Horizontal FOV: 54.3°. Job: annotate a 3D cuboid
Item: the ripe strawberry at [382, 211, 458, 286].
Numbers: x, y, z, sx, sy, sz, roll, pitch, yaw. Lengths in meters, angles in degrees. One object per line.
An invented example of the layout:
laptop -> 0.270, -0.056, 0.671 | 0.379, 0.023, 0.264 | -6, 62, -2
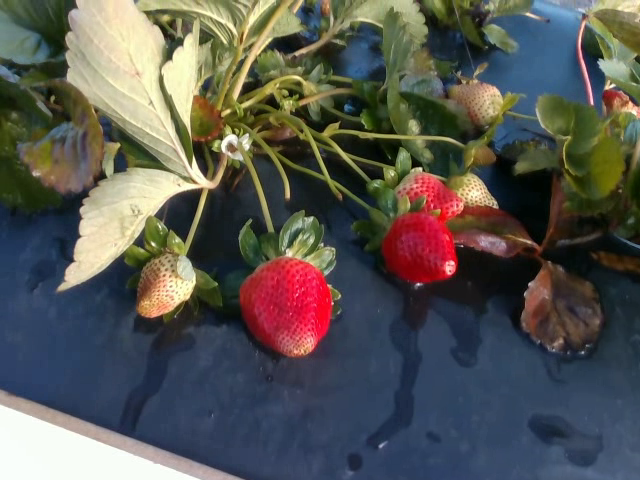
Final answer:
ripe strawberry -> 0.057, 0.009, 0.333 | 0.042, 0.045, 0.055 | 45, -2, -31

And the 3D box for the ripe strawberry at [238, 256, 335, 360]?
ripe strawberry -> -0.016, 0.034, 0.294 | 0.050, 0.050, 0.065 | -23, 27, 3
